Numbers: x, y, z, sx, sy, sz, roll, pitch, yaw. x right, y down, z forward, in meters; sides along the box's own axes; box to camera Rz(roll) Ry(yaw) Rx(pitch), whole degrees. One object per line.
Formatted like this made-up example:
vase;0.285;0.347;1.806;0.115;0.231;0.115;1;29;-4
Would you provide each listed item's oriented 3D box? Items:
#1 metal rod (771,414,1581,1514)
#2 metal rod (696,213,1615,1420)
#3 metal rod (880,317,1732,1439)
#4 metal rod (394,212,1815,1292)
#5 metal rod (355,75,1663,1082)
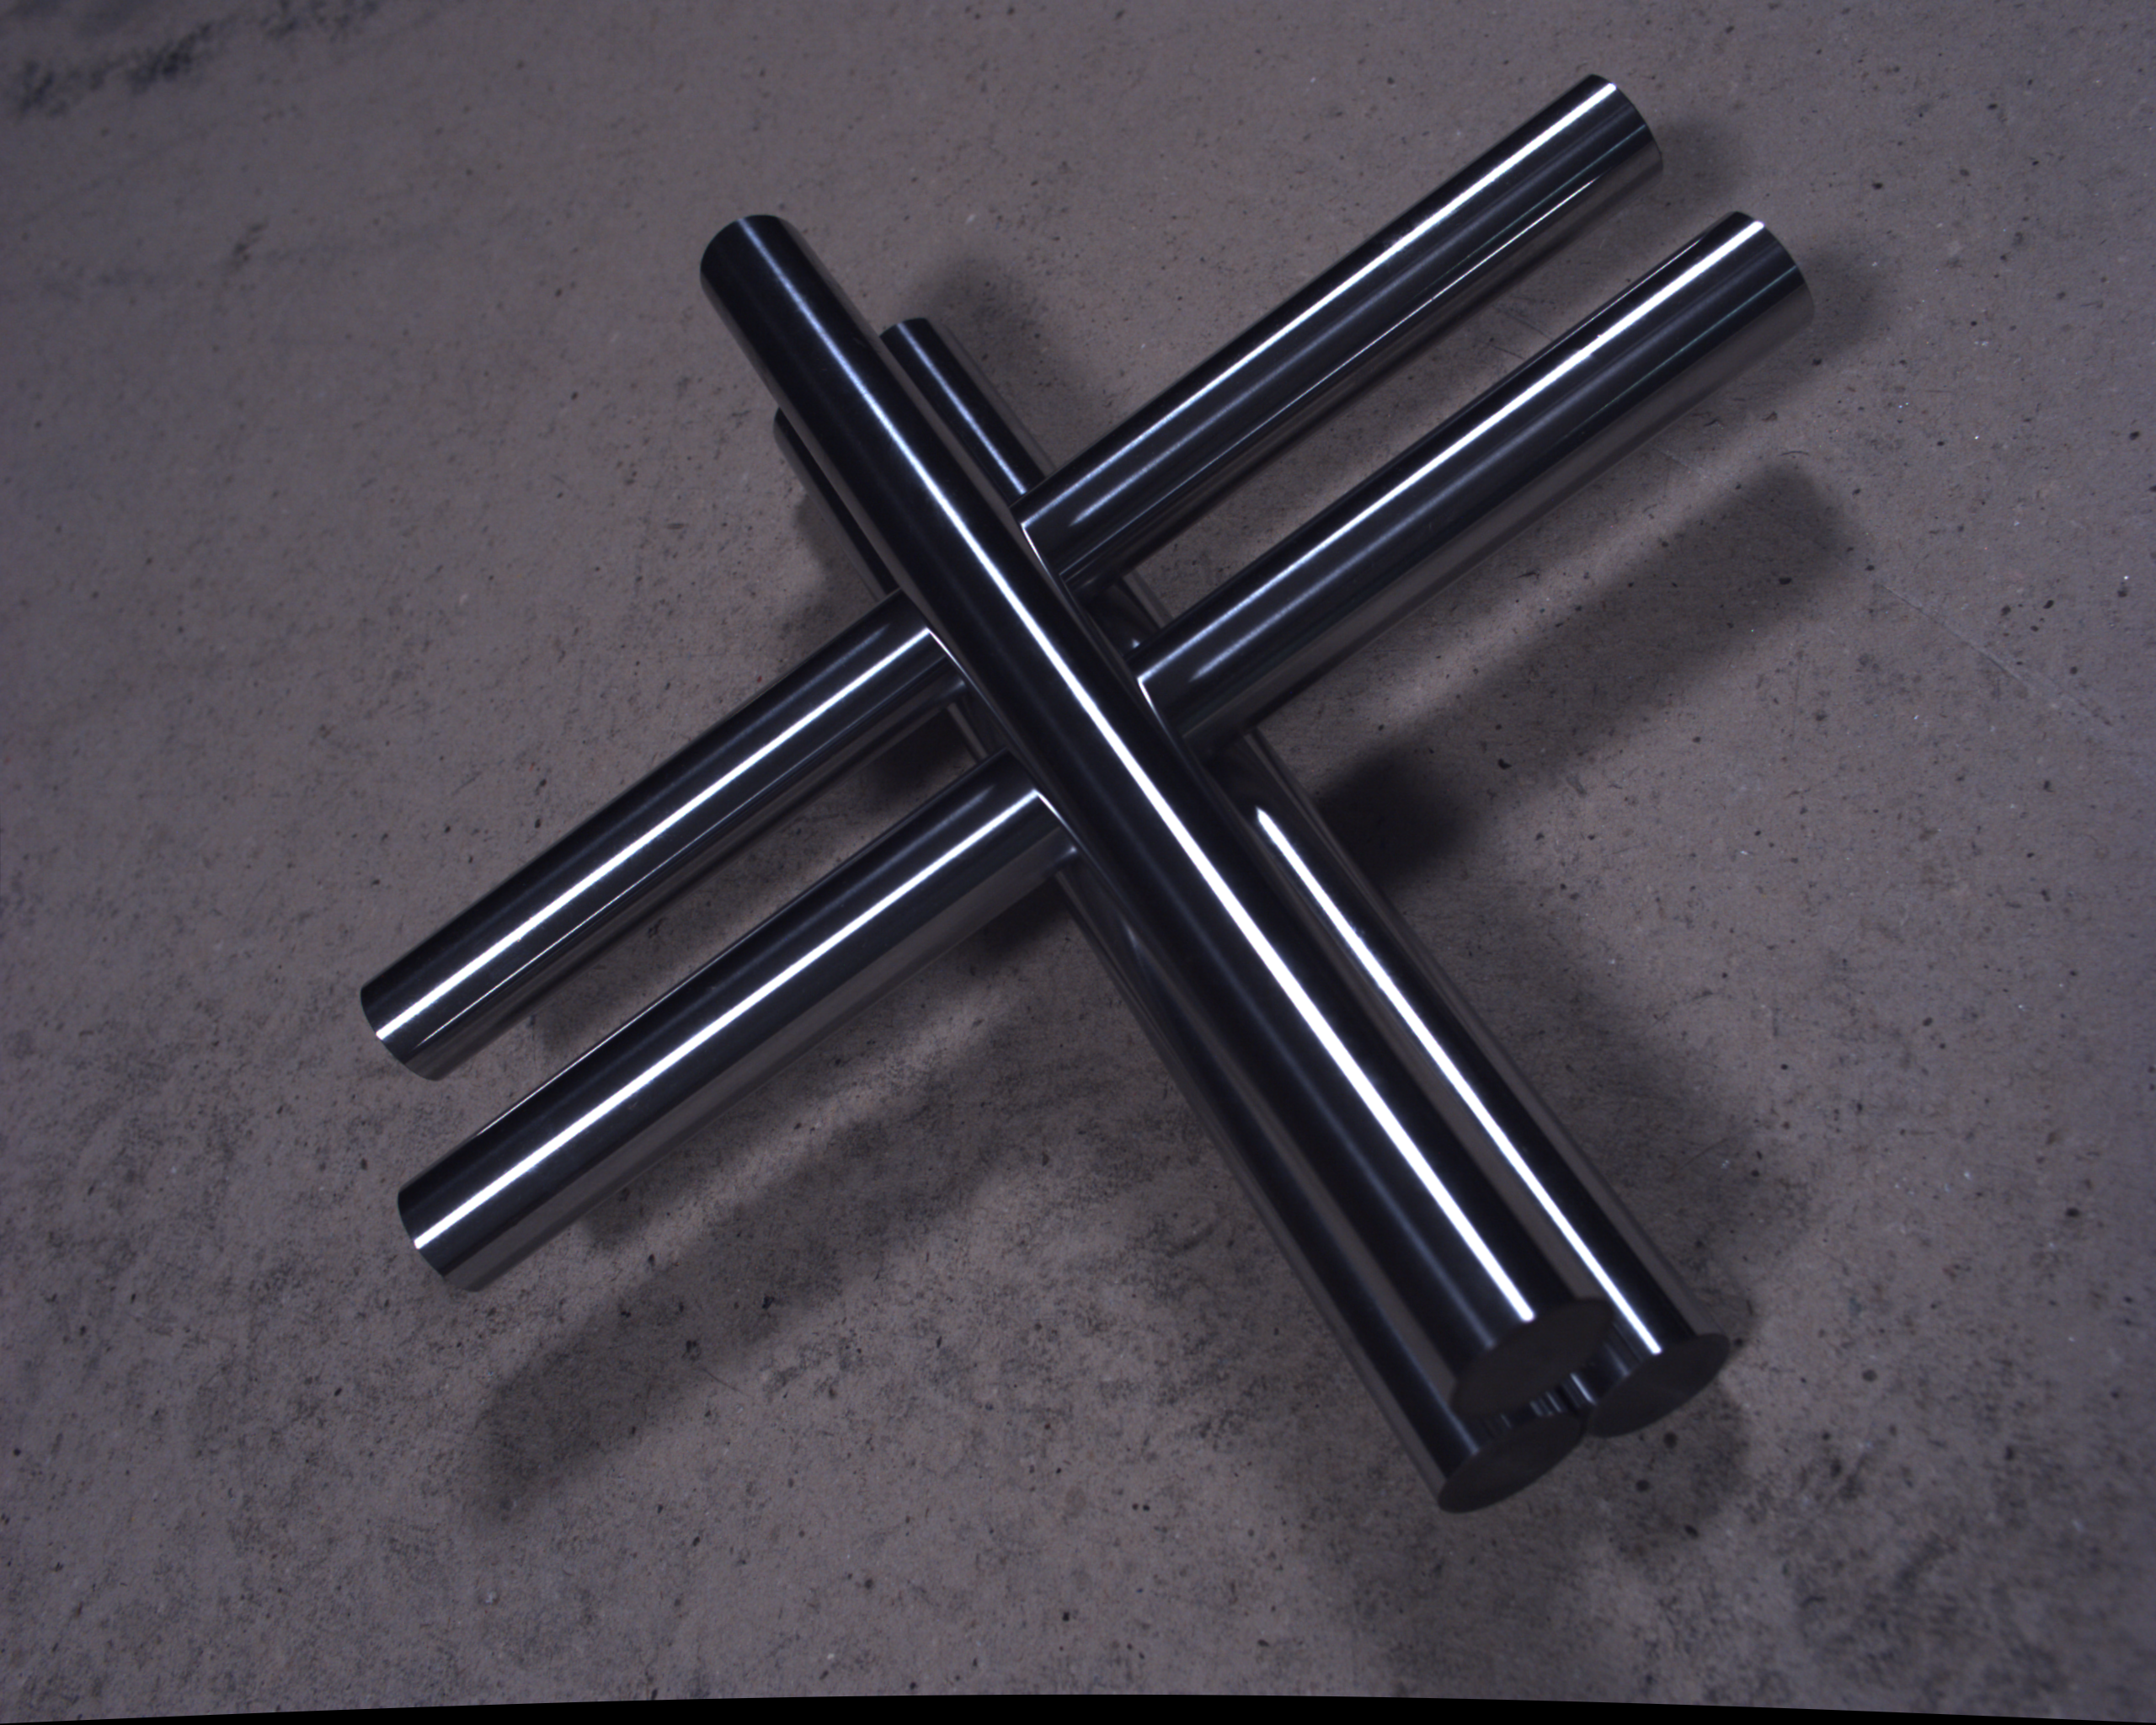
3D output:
metal rod;0.002;-0.008;0.408;0.025;0.025;0.300;-36;51;4
metal rod;-0.006;-0.033;0.363;0.025;0.025;0.300;-37;51;3
metal rod;0.023;-0.020;0.404;0.025;0.025;0.300;-36;51;4
metal rod;0.002;-0.018;0.382;0.300;0.025;0.025;-36;51;3
metal rod;-0.016;-0.054;0.413;0.300;0.025;0.025;-36;51;3
